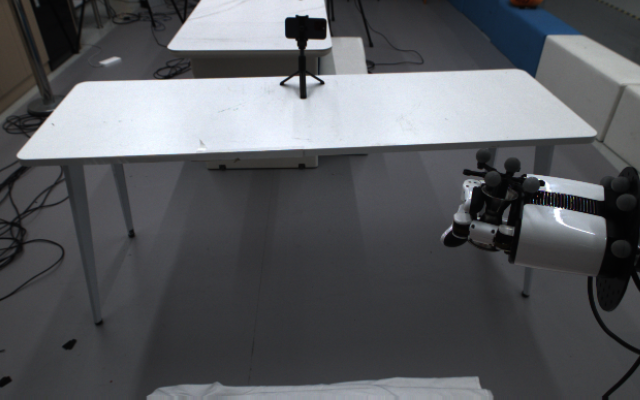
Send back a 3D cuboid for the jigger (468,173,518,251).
[{"bbox_3d":[0.203,0.021,0.570,0.043,0.071,0.043,6,26,-3],"label":"jigger"}]
